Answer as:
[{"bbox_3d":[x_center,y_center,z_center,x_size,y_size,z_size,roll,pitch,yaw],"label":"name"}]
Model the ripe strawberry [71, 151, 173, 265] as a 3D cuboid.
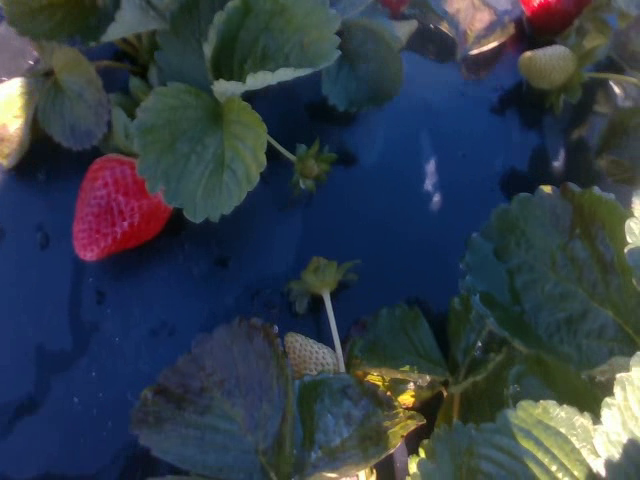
[{"bbox_3d":[-0.089,-0.013,0.274,0.045,0.059,0.042,10,-23,39],"label":"ripe strawberry"}]
